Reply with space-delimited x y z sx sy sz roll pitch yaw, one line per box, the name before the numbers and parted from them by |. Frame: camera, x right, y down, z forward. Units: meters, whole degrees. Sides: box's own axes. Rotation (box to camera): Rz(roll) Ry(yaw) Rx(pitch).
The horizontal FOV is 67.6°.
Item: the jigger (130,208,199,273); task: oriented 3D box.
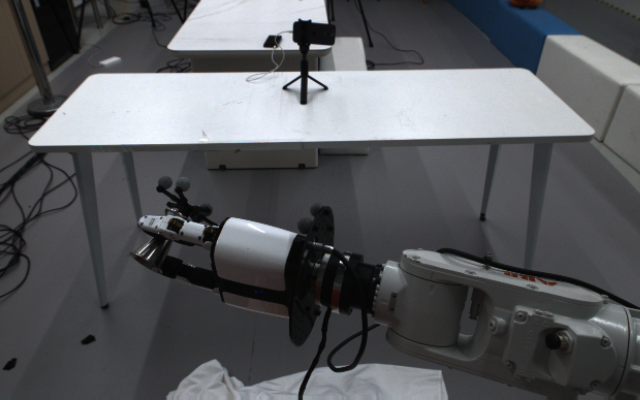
jigger | -0.190 0.046 0.580 0.043 0.043 0.071 19 62 23
